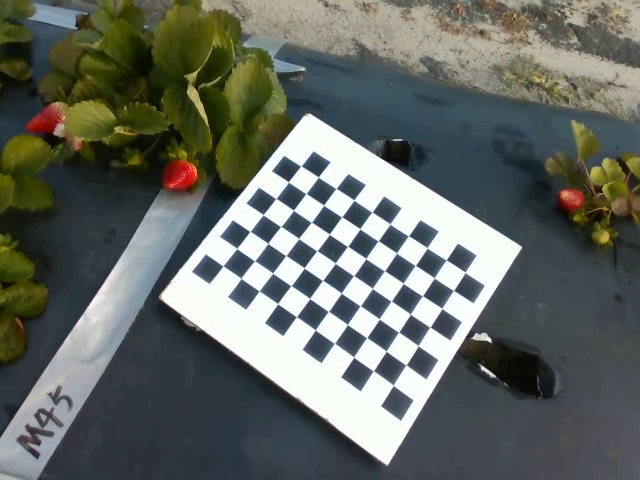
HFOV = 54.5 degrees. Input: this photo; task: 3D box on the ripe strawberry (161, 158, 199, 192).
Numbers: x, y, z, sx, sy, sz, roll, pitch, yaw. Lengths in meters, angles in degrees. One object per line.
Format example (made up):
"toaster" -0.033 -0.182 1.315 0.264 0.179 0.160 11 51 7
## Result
"ripe strawberry" -0.148 -0.065 0.637 0.050 0.055 0.036 30 -37 1
